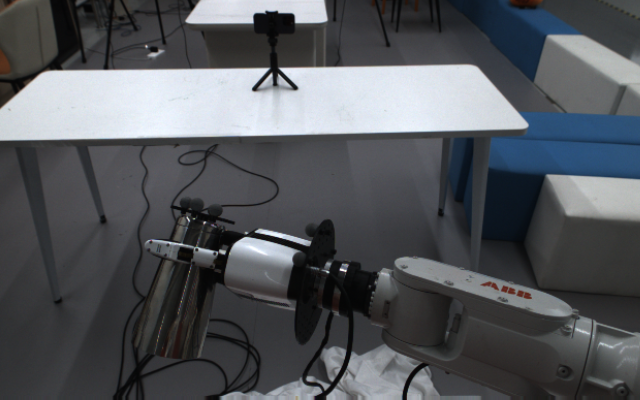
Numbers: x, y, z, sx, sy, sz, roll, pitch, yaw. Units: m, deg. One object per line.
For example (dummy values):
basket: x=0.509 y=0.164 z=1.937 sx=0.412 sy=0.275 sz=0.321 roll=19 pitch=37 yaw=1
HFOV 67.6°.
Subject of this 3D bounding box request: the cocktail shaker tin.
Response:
cocktail shaker tin: x=-0.178 y=0.112 z=0.639 sx=0.093 sy=0.170 sz=0.093 roll=15 pitch=-5 yaw=1
